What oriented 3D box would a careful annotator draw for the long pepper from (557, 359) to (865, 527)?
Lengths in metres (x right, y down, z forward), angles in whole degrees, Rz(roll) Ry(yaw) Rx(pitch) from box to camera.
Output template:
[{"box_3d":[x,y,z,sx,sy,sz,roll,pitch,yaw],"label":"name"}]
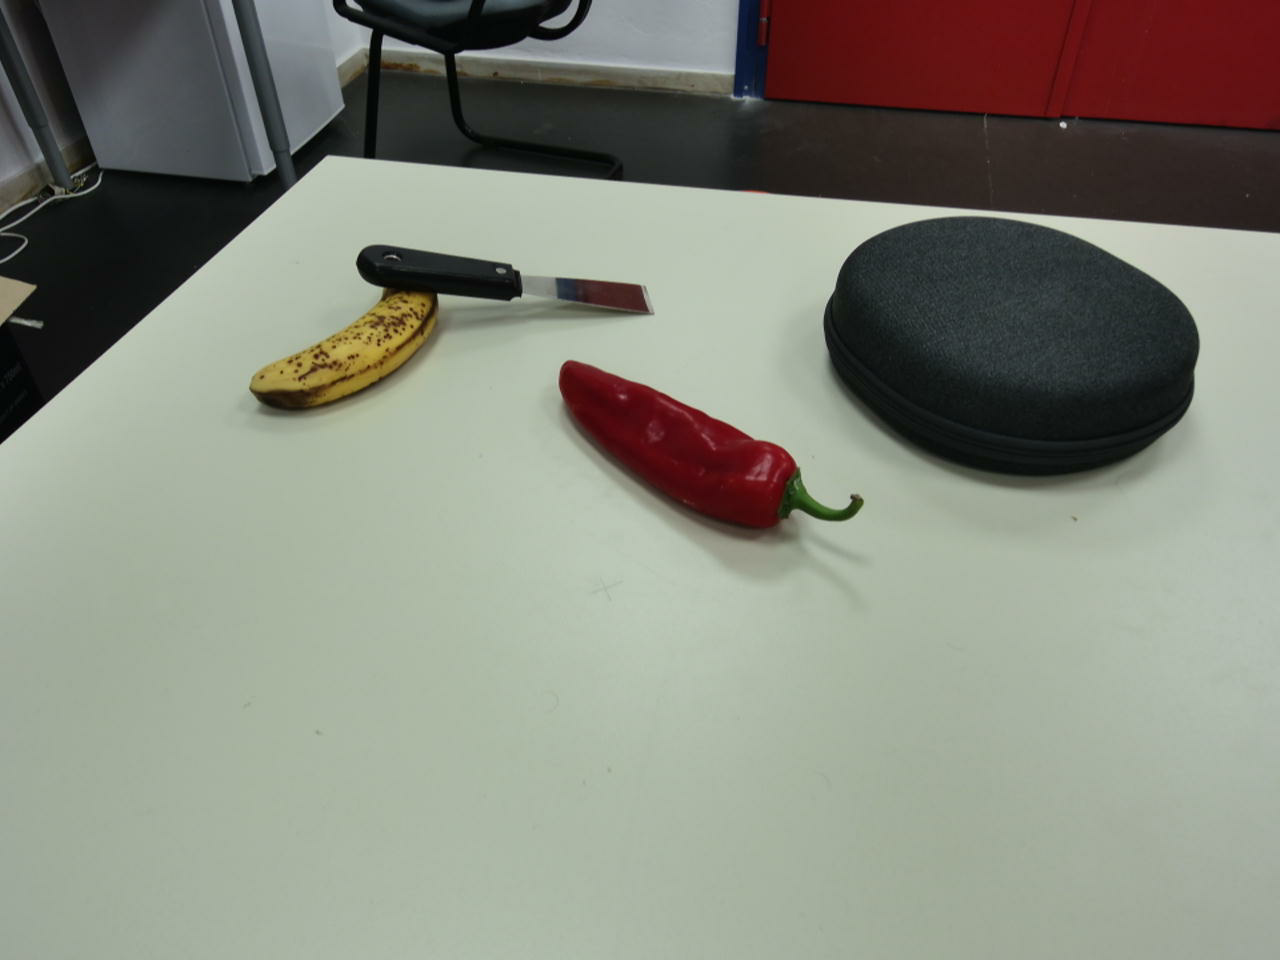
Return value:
[{"box_3d":[0.023,-0.019,0.533,0.211,0.043,0.050,32,49,34],"label":"long pepper"}]
